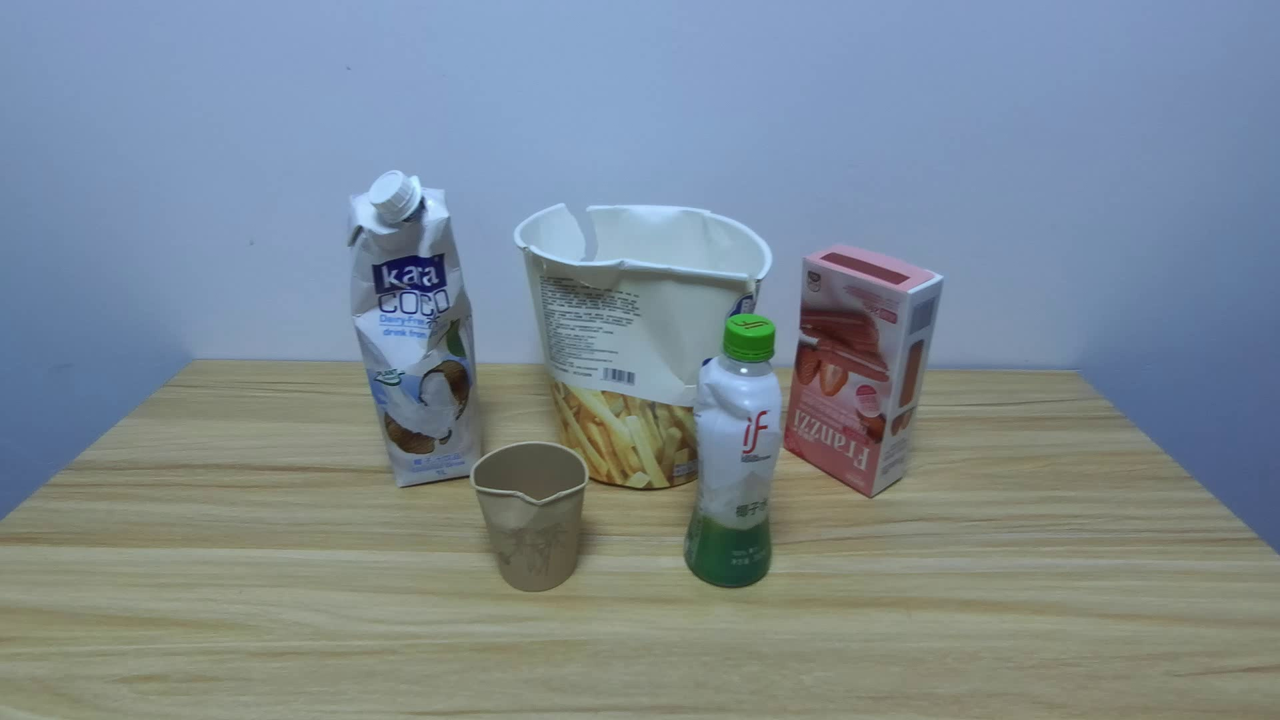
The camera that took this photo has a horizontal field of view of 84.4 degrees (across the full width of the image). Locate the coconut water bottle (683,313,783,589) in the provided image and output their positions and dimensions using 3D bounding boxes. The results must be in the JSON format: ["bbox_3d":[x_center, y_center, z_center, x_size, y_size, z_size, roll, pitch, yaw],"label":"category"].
[{"bbox_3d":[0.066,0.062,0.468,0.069,0.186,0.069,1,28,0],"label":"coconut water bottle"}]

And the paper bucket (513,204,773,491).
[{"bbox_3d":[0.000,-0.016,0.600,0.202,0.197,0.146,5,28,9],"label":"paper bucket"}]

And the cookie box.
[{"bbox_3d":[0.172,0.007,0.574,0.049,0.187,0.104,-21,35,-34],"label":"cookie box"}]

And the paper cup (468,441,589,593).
[{"bbox_3d":[-0.074,0.110,0.491,0.074,0.081,0.068,-18,32,-31],"label":"paper cup"}]

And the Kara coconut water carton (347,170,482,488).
[{"bbox_3d":[-0.175,-0.024,0.552,0.083,0.256,0.078,0,31,-3],"label":"Kara coconut water carton"}]
